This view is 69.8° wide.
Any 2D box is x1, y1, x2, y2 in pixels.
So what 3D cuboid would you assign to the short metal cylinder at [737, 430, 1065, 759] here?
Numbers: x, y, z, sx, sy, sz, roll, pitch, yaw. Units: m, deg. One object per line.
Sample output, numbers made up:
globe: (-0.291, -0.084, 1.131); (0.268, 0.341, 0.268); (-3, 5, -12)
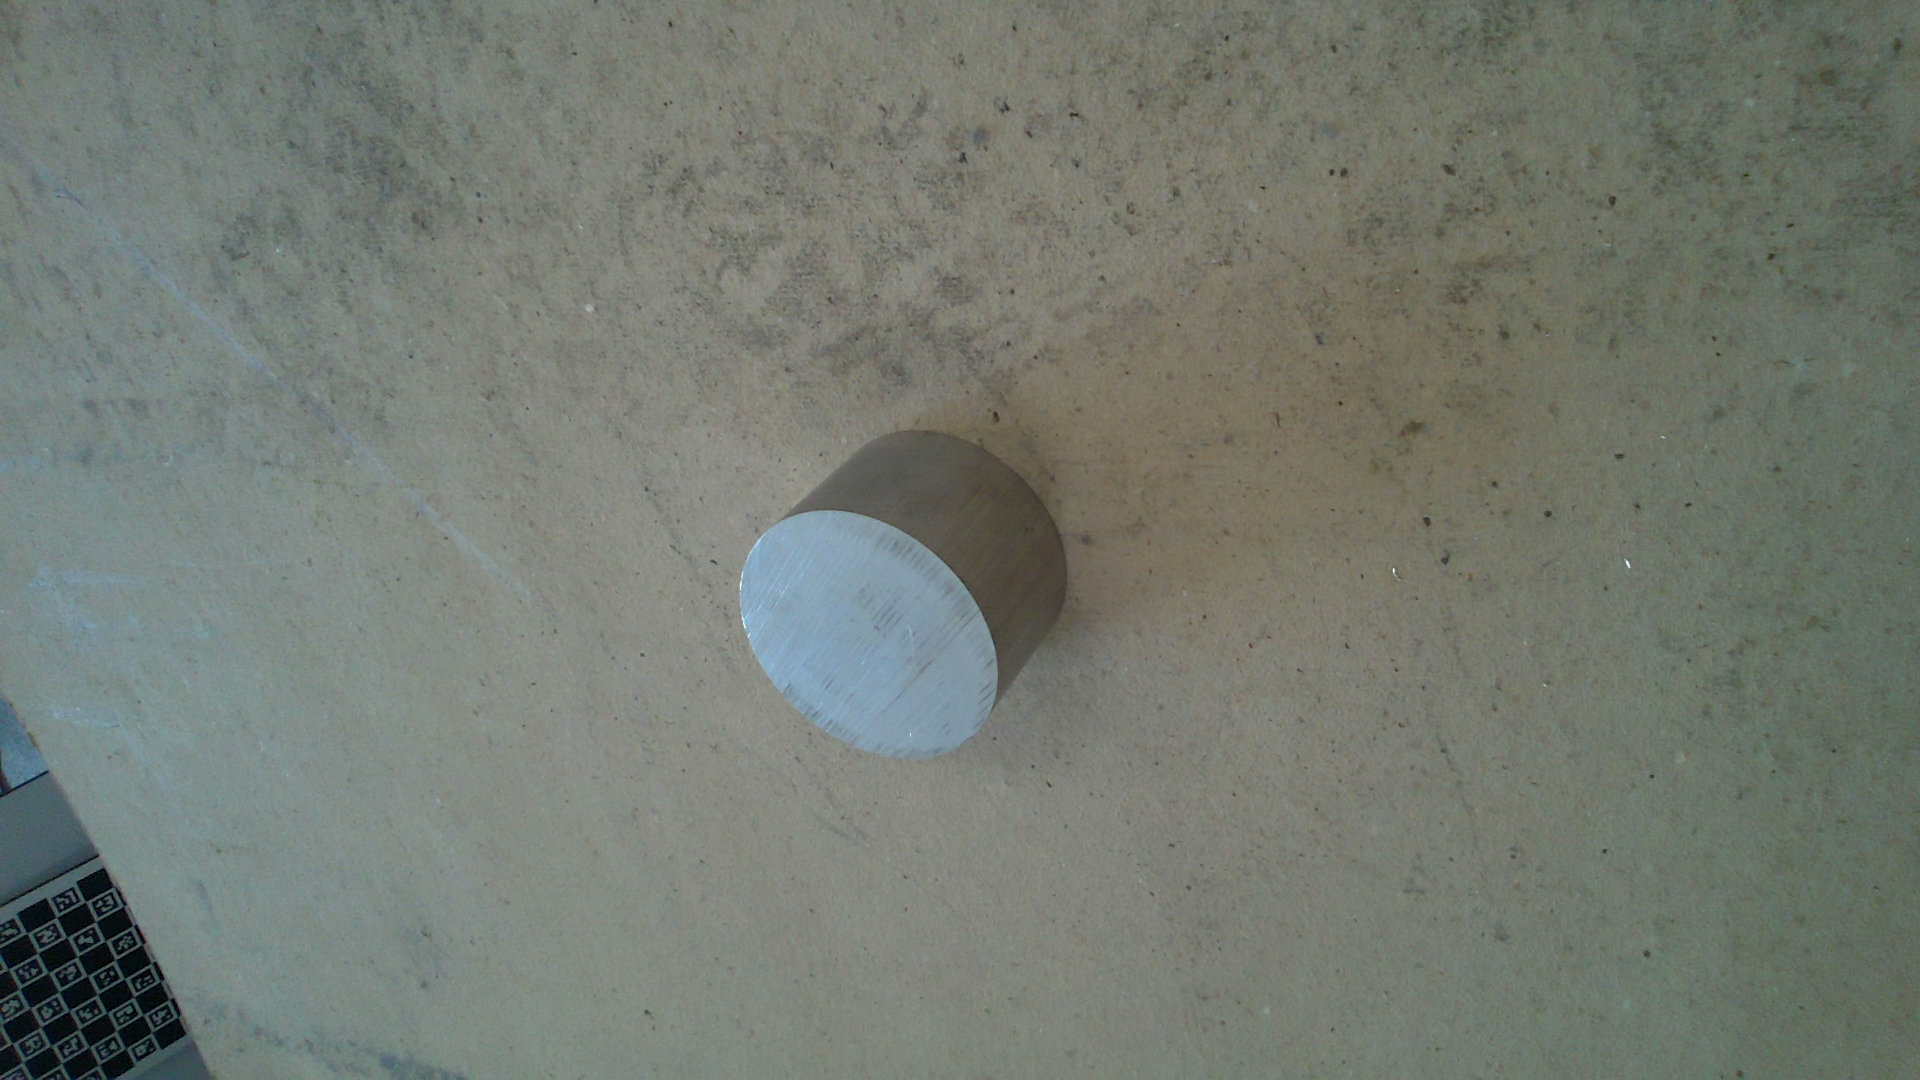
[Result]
short metal cylinder: (-0.016, 0.015, 0.395); (0.080, 0.050, 0.080); (13, 124, 20)
